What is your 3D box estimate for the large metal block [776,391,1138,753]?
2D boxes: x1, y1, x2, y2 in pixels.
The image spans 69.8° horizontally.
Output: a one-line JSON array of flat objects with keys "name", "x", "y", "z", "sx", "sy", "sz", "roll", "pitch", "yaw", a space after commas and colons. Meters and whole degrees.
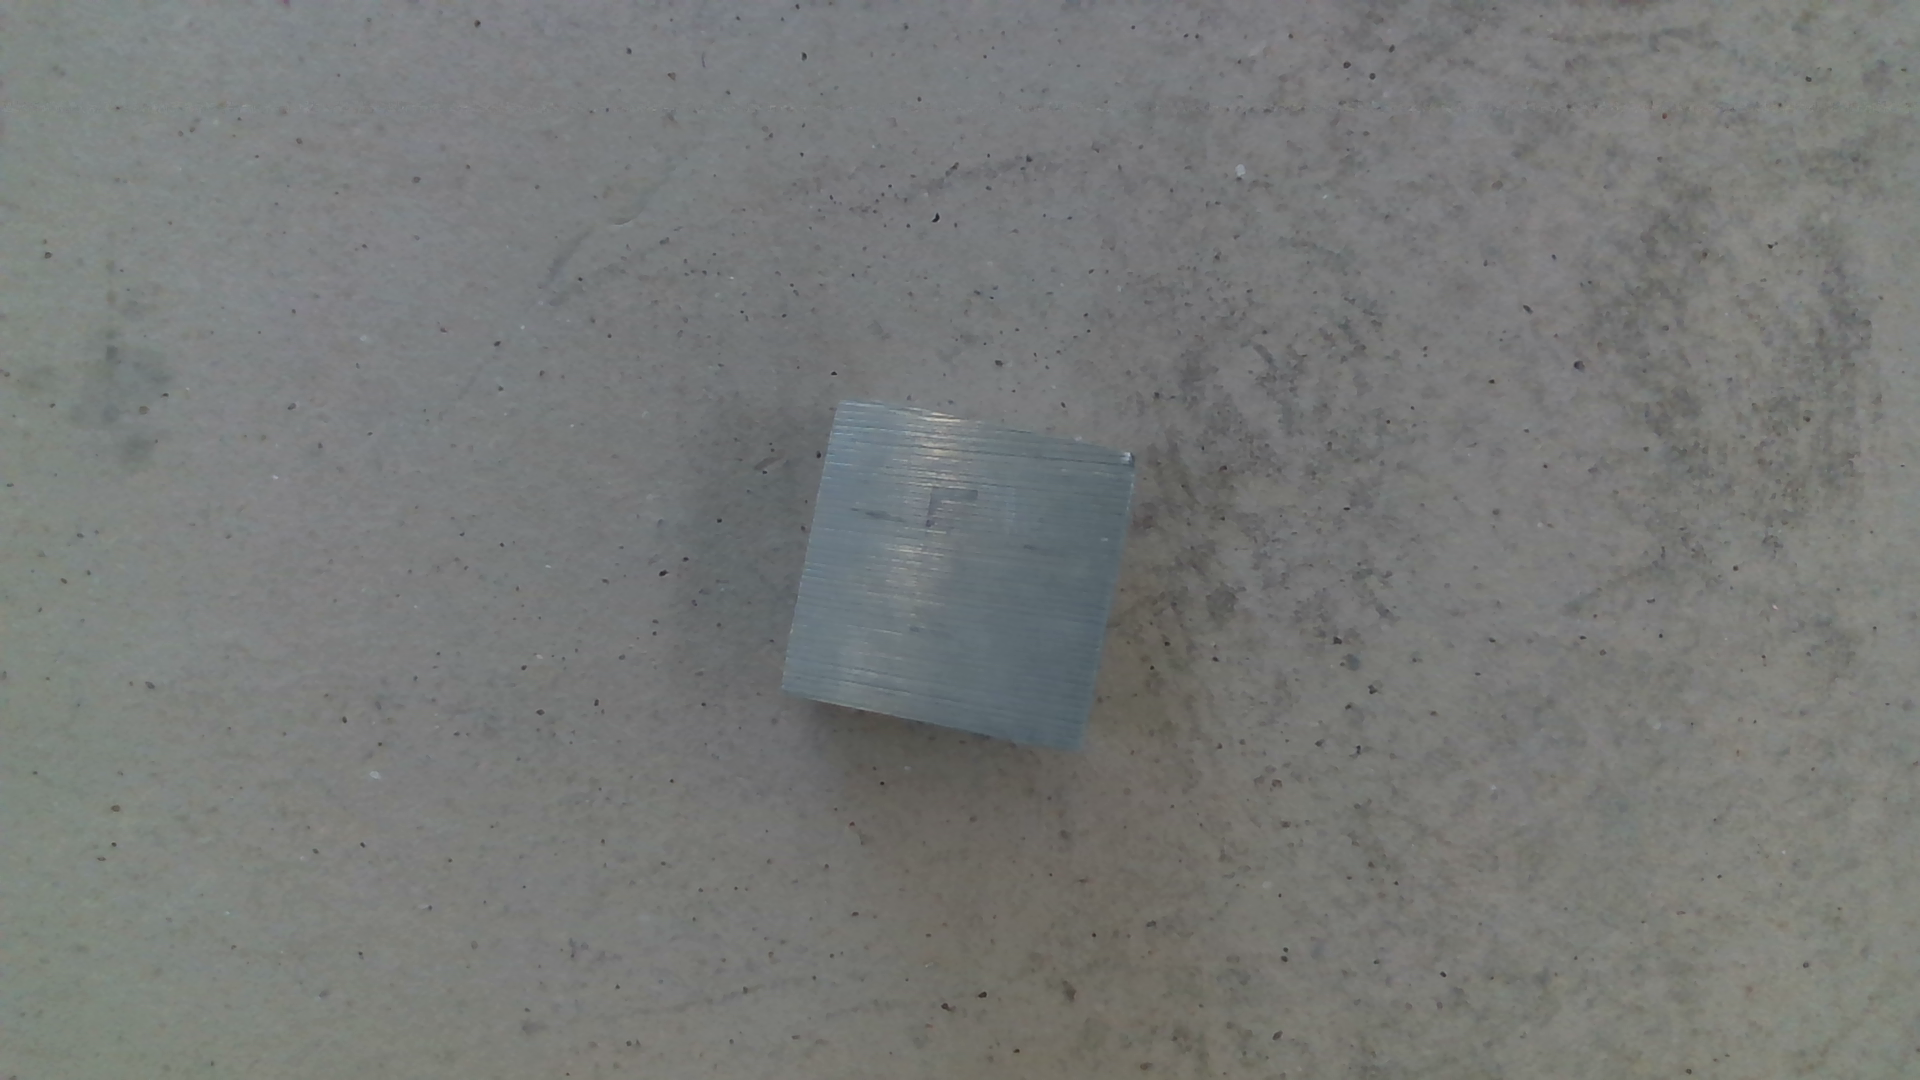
[{"name": "large metal block", "x": -0.001, "y": 0.008, "z": 0.383, "sx": 0.080, "sy": 0.050, "sz": 0.080, "roll": 11, "pitch": 91, "yaw": 0}]
